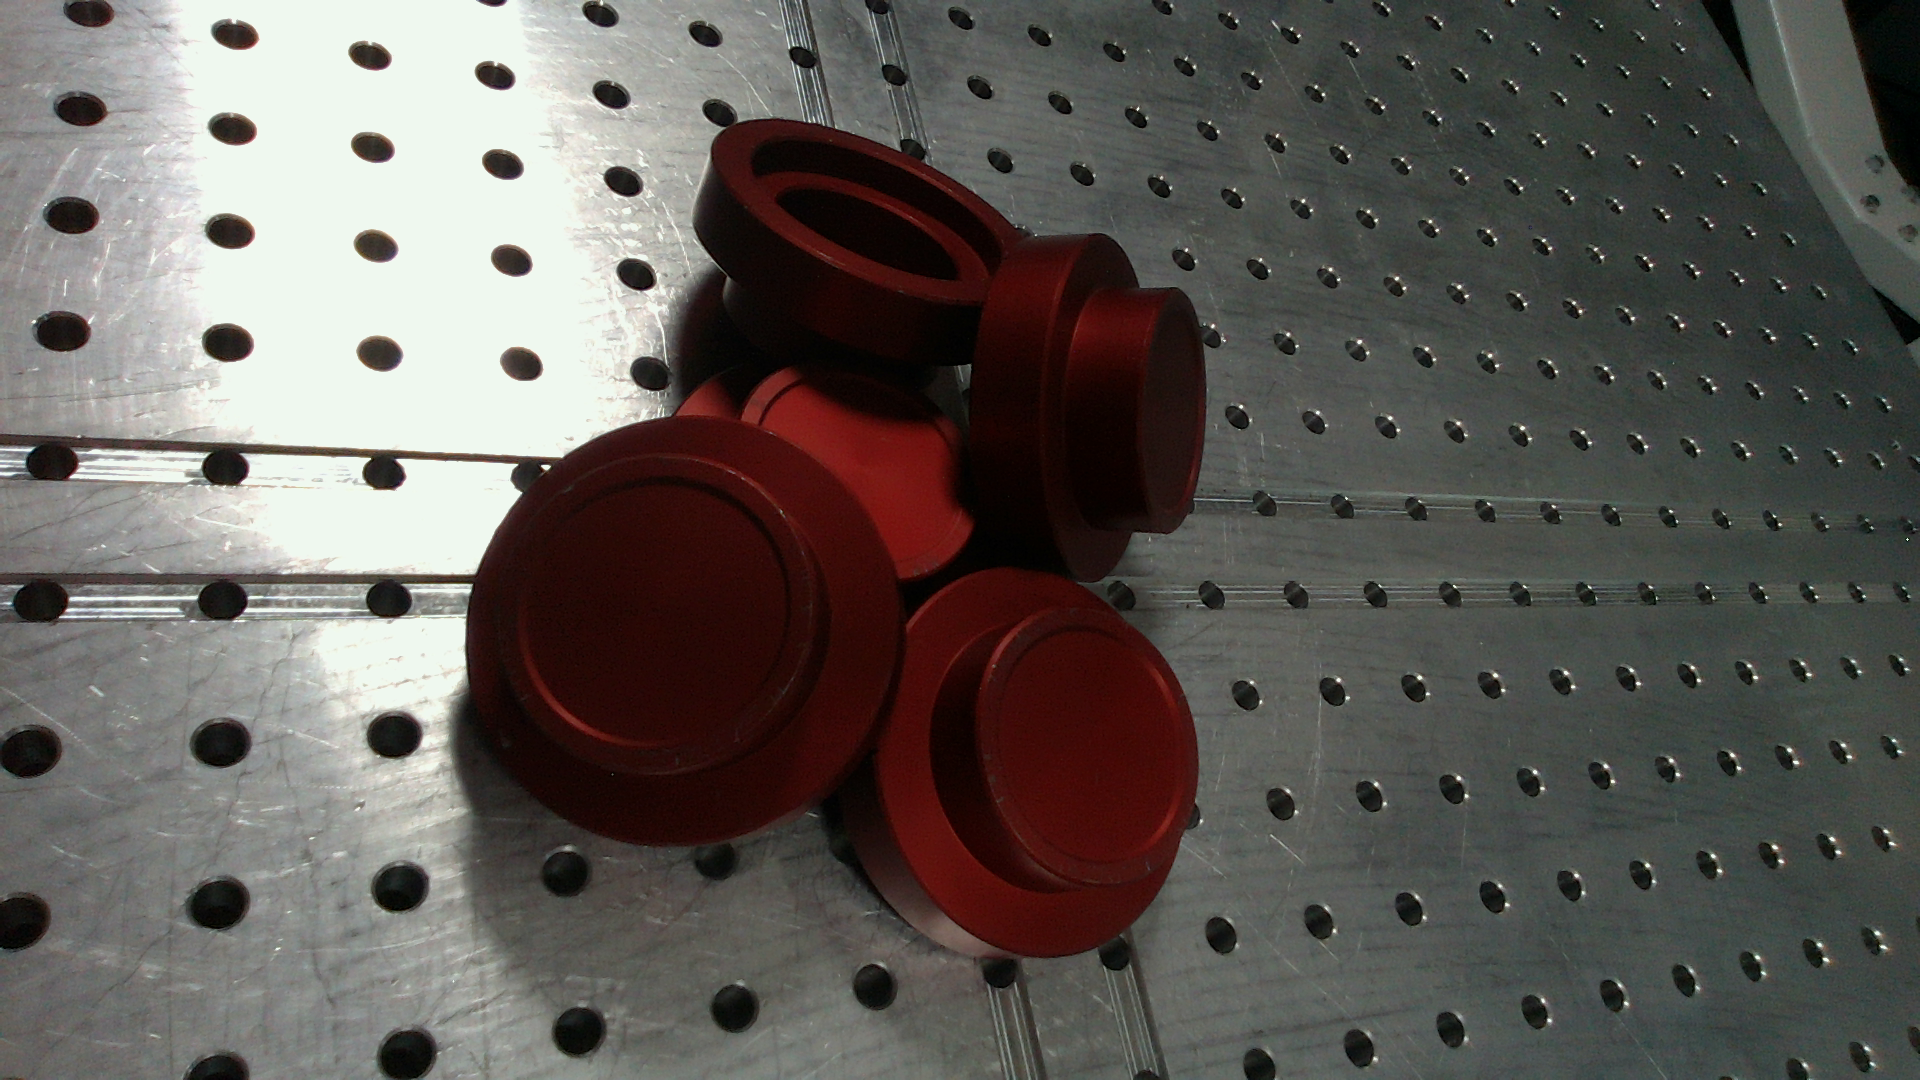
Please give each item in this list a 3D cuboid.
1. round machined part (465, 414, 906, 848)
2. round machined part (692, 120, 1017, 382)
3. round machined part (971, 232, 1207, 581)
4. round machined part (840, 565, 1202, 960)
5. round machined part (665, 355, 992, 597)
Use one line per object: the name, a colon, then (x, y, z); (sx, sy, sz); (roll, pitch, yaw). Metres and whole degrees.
round machined part: (-0.062, 0.018, 0.307); (0.098, 0.042, 0.098); (0, 78, 2)
round machined part: (-0.031, -0.079, 0.399); (0.098, 0.042, 0.098); (19, 33, -12)
round machined part: (0.041, -0.037, 0.389); (0.042, 0.098, 0.098); (3, 48, 23)
round machined part: (0.021, 0.053, 0.345); (0.098, 0.042, 0.098); (12, 67, -30)
round machined part: (-0.034, -0.010, 0.368); (0.098, 0.042, 0.098); (14, 56, -21)
